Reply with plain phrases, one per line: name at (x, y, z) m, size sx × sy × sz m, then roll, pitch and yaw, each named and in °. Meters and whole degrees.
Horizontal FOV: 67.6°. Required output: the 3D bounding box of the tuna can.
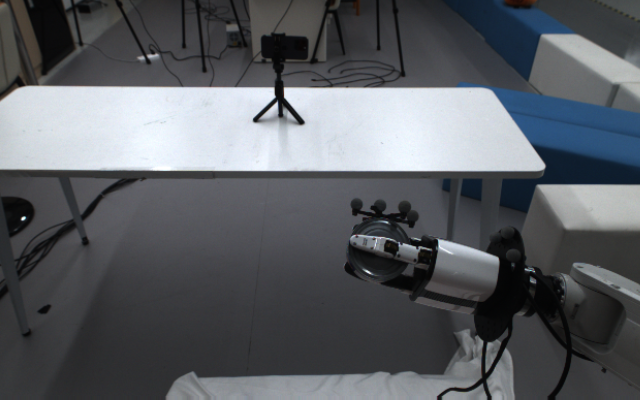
tuna can at (0.080, 0.065, 0.658) m, size 0.085 × 0.034 × 0.085 m, roll 1°, pitch 72°, yaw -3°
